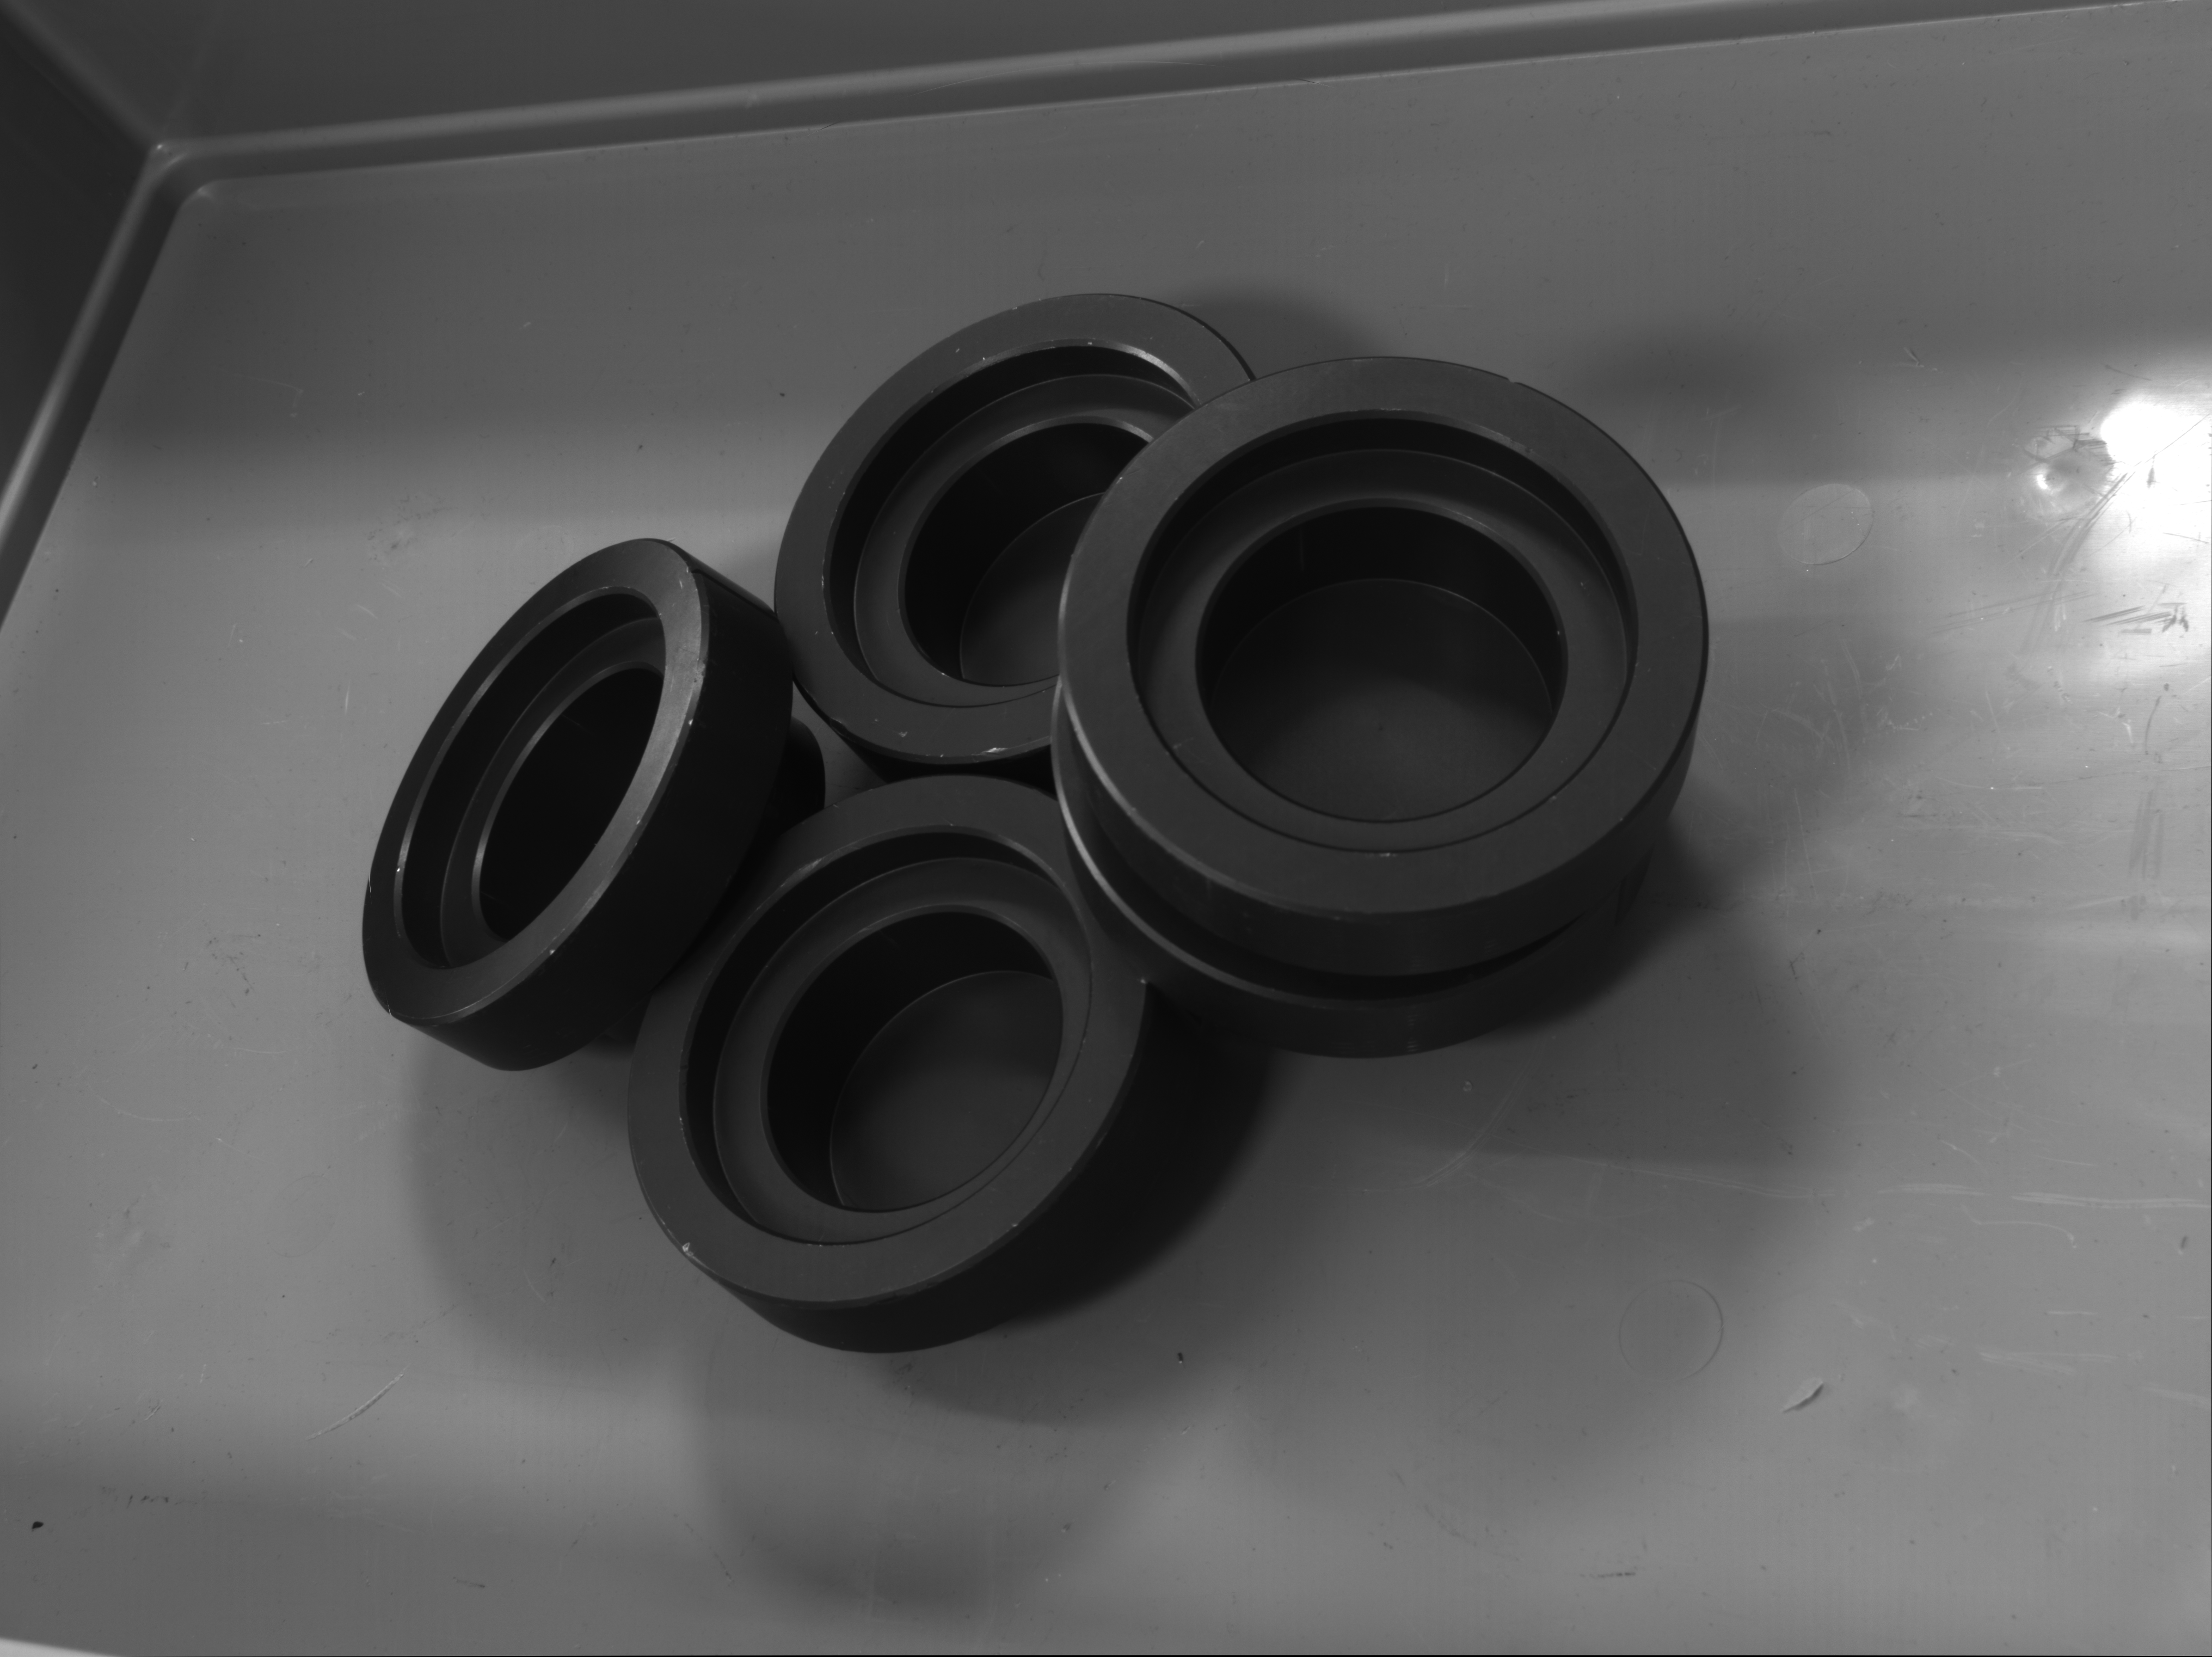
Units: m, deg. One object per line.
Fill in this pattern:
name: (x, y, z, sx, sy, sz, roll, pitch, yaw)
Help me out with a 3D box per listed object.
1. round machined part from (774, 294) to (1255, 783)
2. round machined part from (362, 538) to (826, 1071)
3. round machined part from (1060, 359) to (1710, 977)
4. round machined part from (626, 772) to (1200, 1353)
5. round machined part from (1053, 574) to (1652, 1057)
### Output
round machined part: (-0.007, -0.045, 0.663, 0.098, 0.042, 0.098, -13, 56, 21)
round machined part: (-0.089, 0.000, 0.667, 0.098, 0.042, 0.098, -32, 41, 33)
round machined part: (0.043, -0.021, 0.572, 0.098, 0.042, 0.098, -1, 63, 3)
round machined part: (-0.028, 0.043, 0.620, 0.098, 0.042, 0.098, -13, 56, 21)
round machined part: (0.042, -0.007, 0.600, 0.098, 0.042, 0.098, -1, 63, 3)
